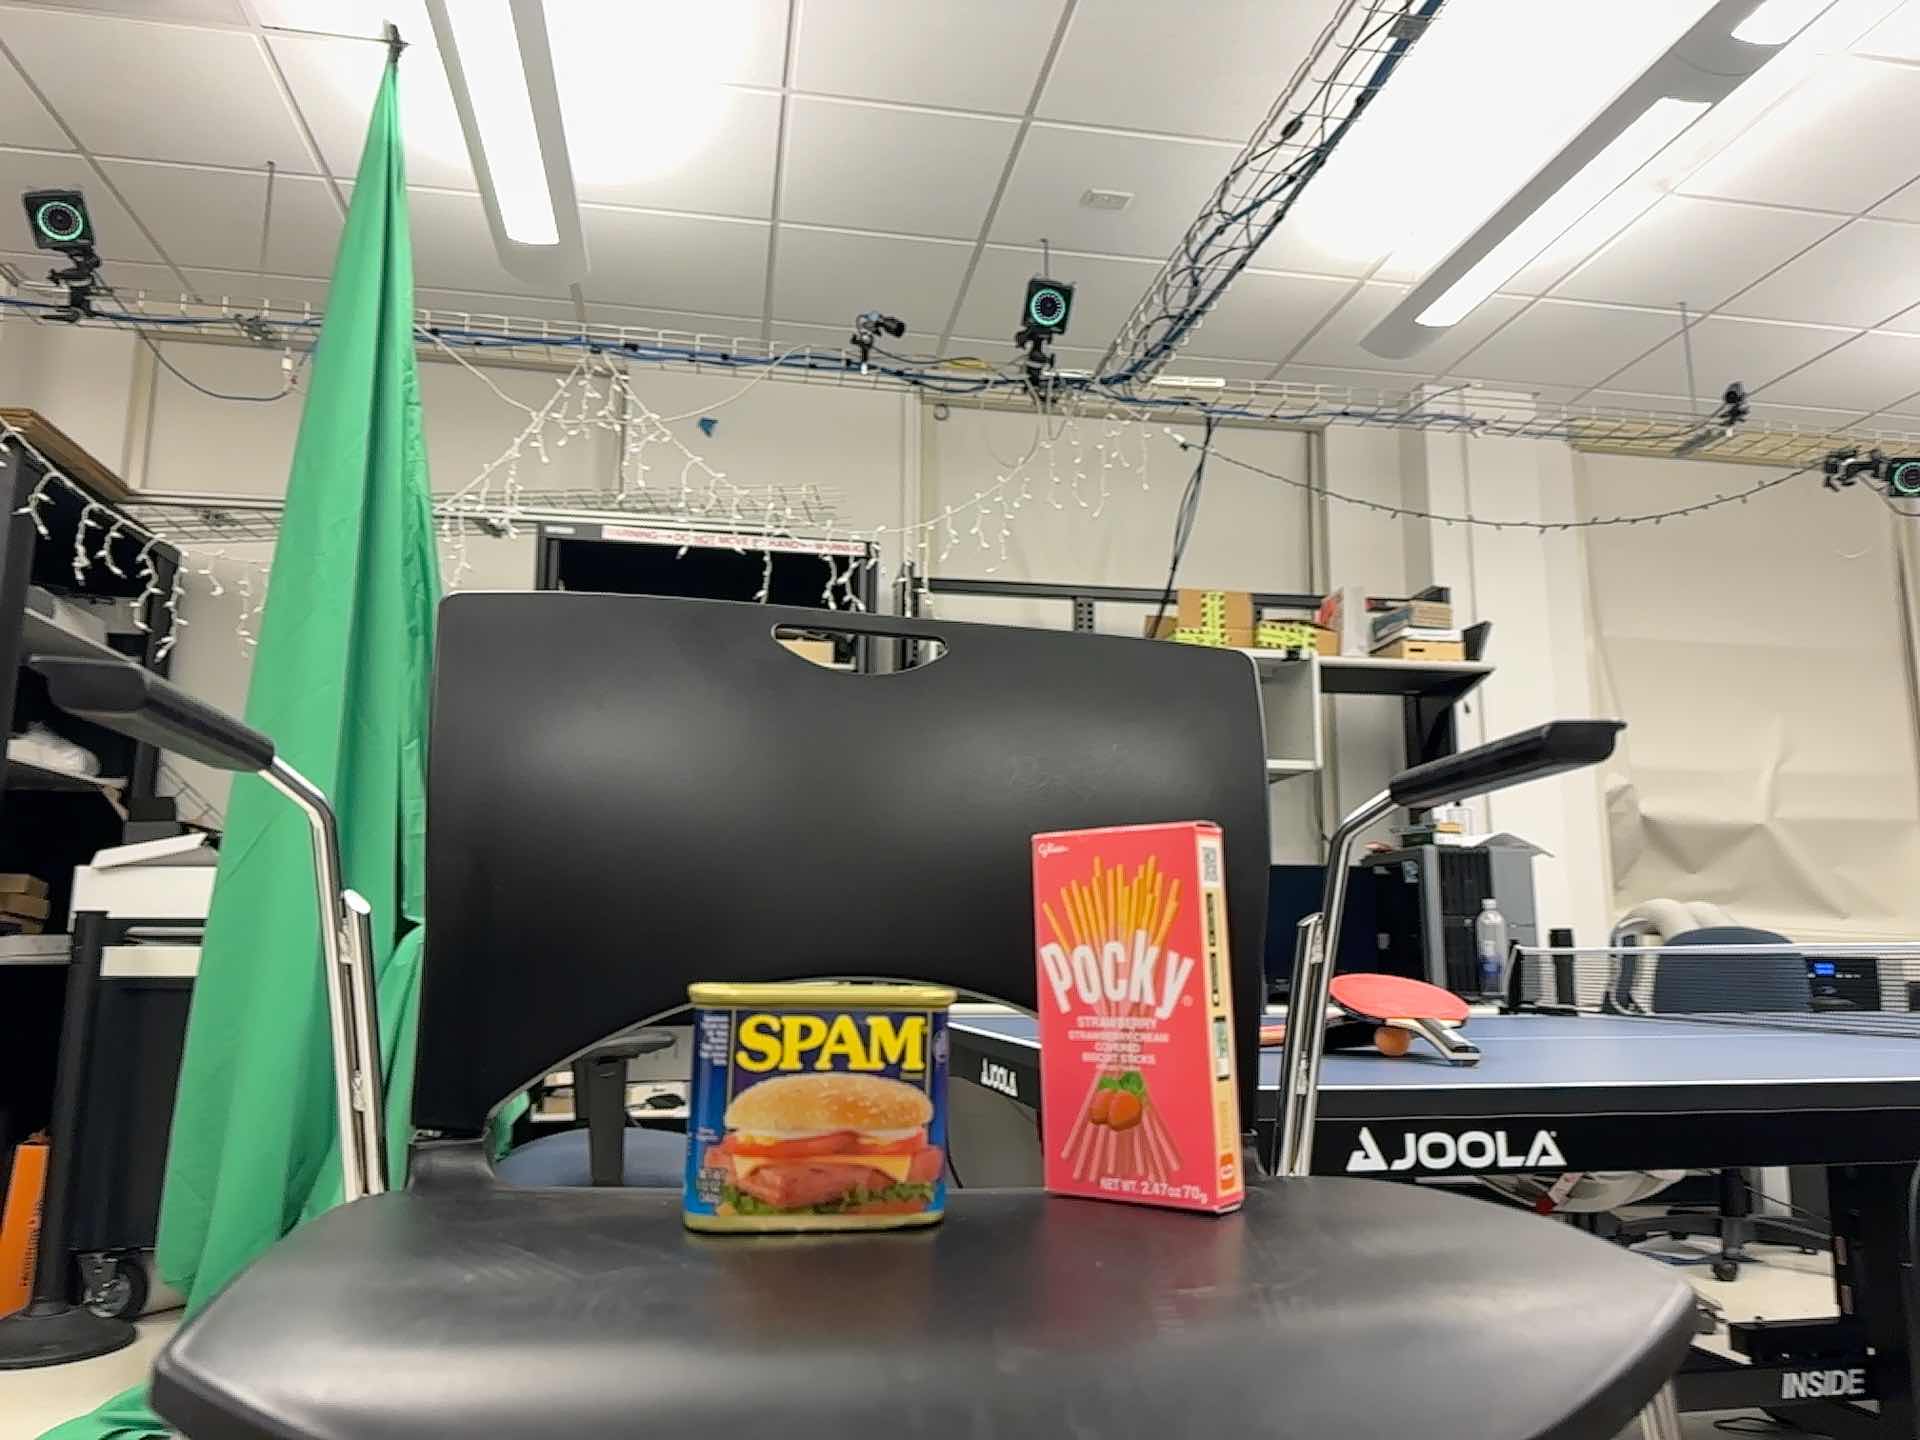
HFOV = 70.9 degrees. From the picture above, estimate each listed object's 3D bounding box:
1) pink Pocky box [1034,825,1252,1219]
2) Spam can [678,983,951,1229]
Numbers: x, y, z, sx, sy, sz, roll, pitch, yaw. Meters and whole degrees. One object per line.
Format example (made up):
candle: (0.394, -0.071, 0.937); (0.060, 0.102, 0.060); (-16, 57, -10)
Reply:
pink Pocky box: (0.074, 0.125, 0.567); (0.084, 0.155, 0.029); (-9, -12, 37)
Spam can: (-0.057, 0.146, 0.517); (0.100, 0.083, 0.056); (3, -10, -6)
